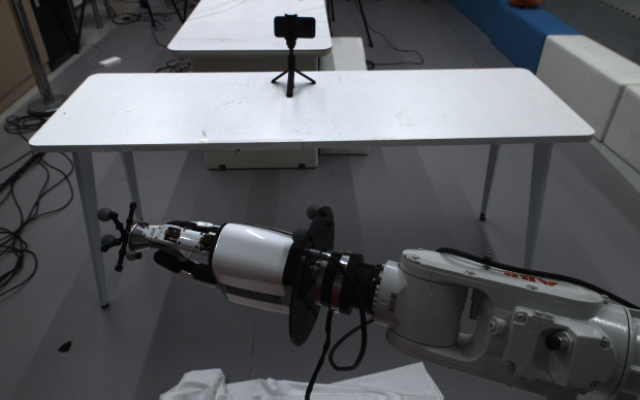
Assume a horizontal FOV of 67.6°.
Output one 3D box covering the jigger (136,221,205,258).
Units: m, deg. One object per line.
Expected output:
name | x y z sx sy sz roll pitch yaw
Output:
jigger | -0.189 0.047 0.604 0.071 0.043 0.043 4 34 14
